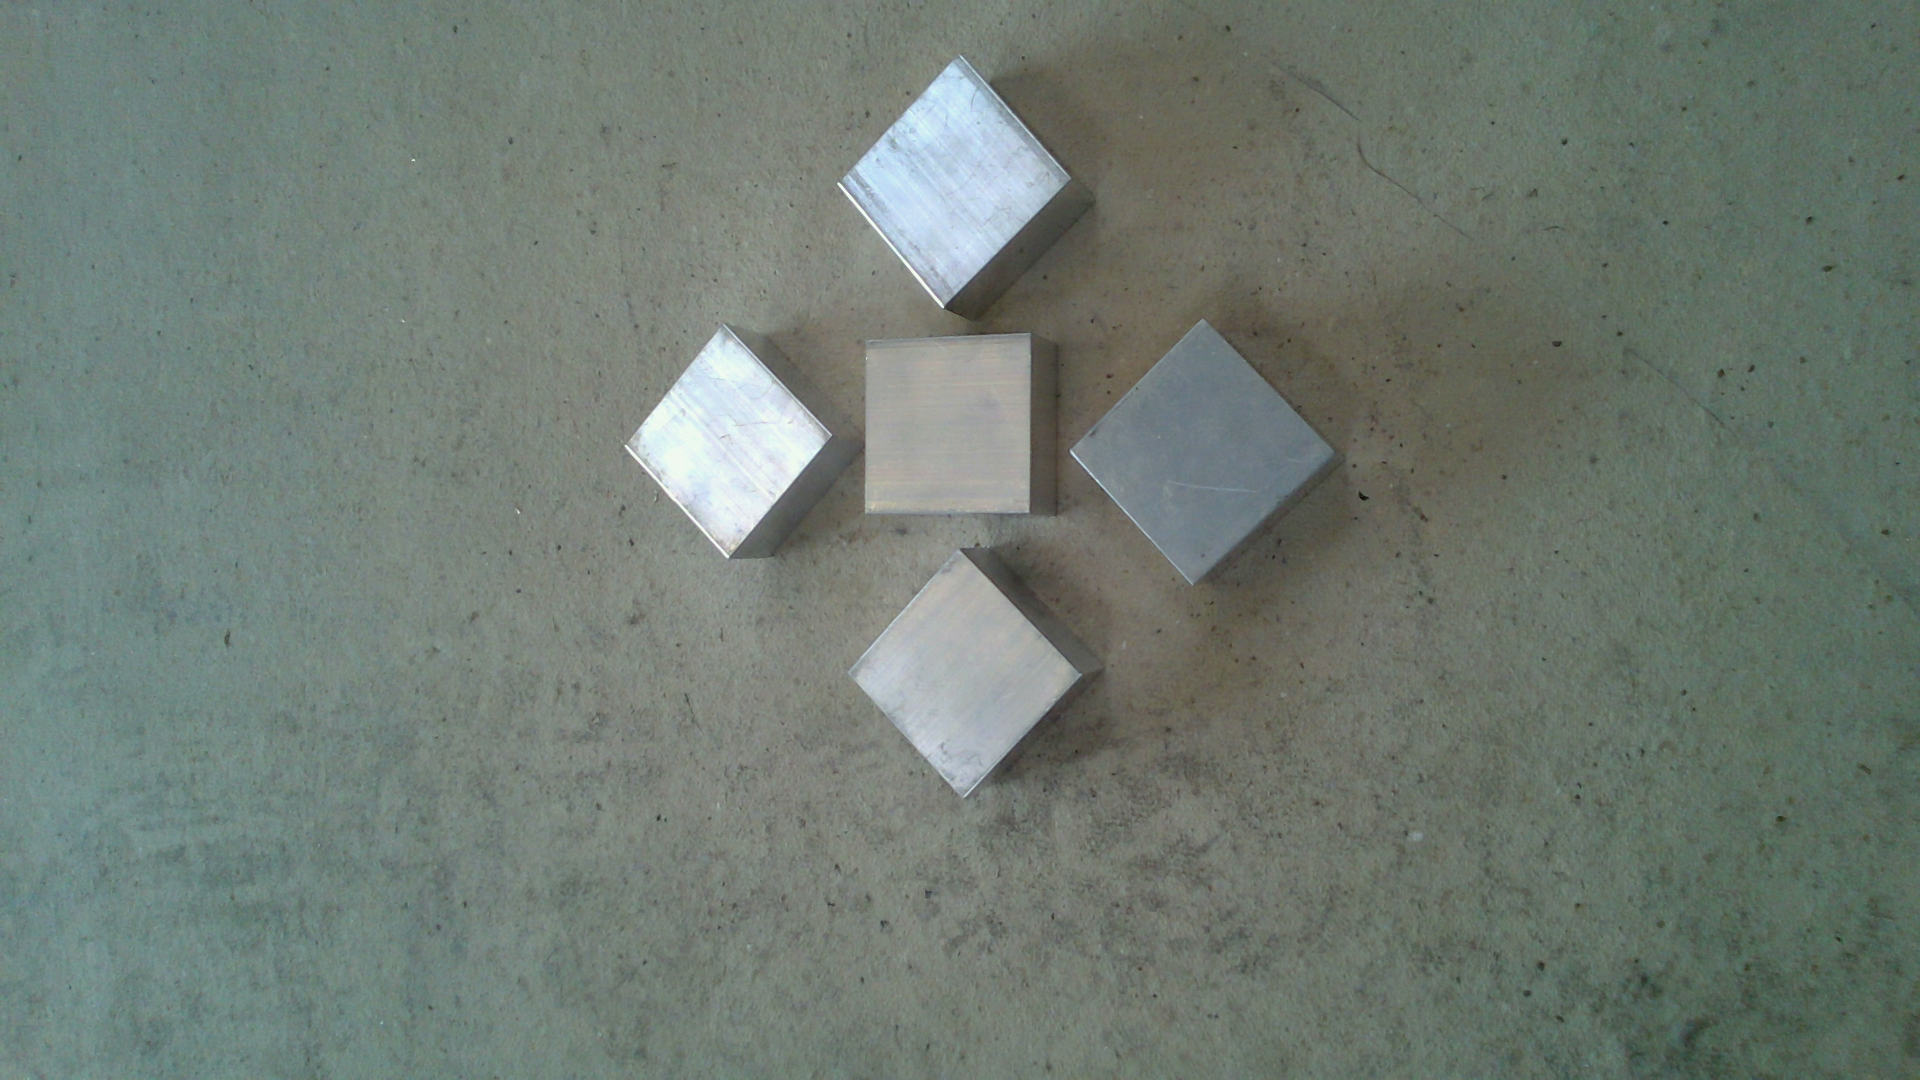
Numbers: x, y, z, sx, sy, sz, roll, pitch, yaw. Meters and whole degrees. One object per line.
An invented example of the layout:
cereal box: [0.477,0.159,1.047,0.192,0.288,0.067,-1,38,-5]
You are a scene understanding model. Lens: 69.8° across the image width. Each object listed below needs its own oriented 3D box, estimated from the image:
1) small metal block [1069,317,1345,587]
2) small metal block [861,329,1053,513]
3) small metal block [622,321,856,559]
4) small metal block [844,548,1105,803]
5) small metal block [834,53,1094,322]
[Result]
small metal block: [0.067,-0.023,0.373,0.050,0.025,0.050,-45,76,15]
small metal block: [0.000,-0.033,0.396,0.050,0.025,0.050,0,90,20]
small metal block: [-0.066,-0.030,0.420,0.050,0.025,0.050,45,103,14]
small metal block: [0.004,0.038,0.395,0.050,0.025,0.050,45,103,14]
small metal block: [0.001,-0.100,0.395,0.050,0.025,0.050,-43,76,14]
